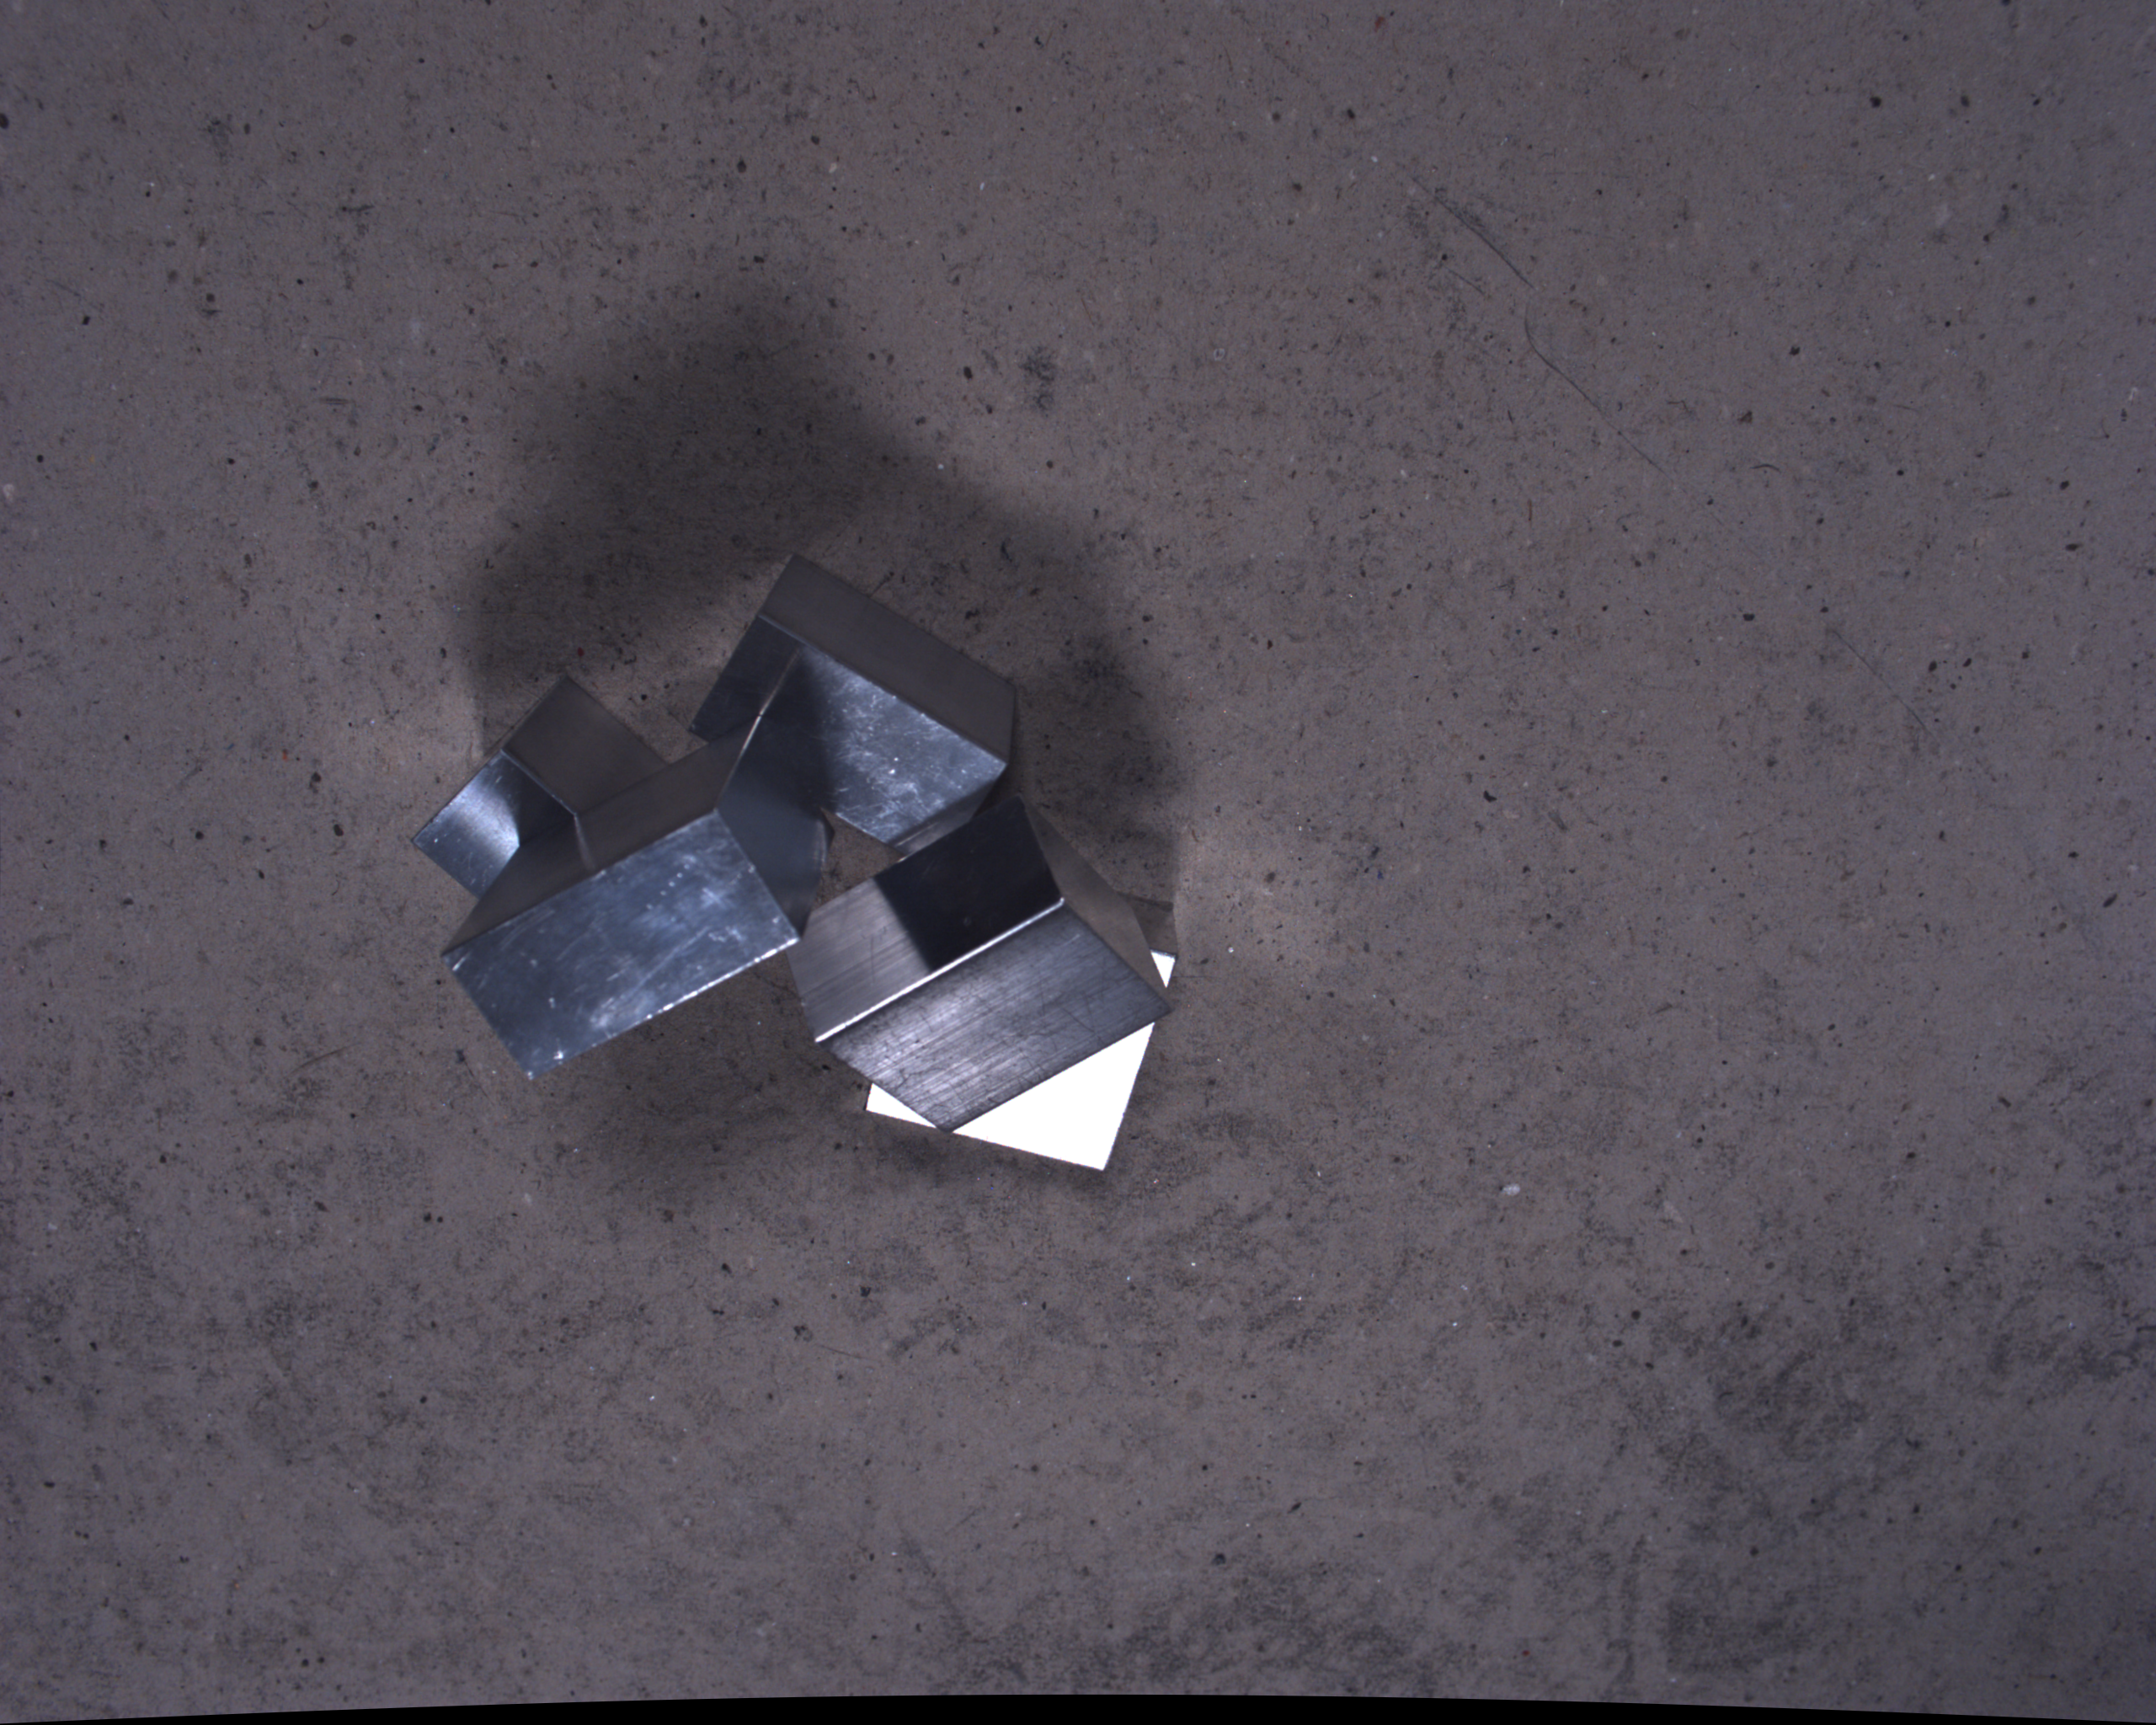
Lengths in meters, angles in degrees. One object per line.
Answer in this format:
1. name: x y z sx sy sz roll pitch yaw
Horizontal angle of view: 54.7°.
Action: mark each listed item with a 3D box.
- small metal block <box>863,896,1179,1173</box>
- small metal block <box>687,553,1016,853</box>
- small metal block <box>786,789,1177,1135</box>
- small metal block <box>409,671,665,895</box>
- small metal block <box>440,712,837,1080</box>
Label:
1. small metal block: -0.012 0.030 0.422 0.050 0.025 0.050 15 109 -6
2. small metal block: -0.040 -0.029 0.387 0.050 0.050 0.025 31 107 -11
3. small metal block: -0.017 0.019 0.378 0.050 0.025 0.050 -30 145 10
4. small metal block: -0.092 -0.004 0.395 0.025 0.050 0.050 -43 105 14
5. small metal block: -0.071 0.004 0.345 0.050 0.050 0.025 -28 108 9
